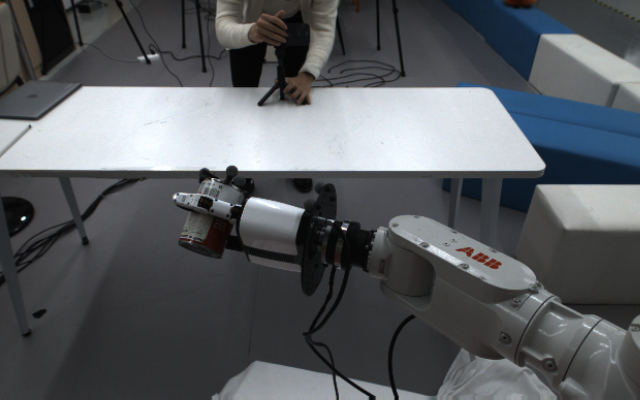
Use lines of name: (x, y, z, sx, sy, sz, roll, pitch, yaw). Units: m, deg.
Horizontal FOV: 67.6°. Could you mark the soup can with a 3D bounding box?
soup can: (-0.159, 0.027, 0.709, 0.067, 0.067, 0.101, 12, 70, 14)
